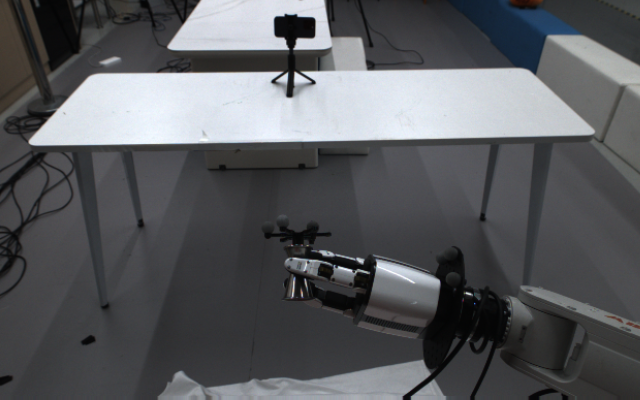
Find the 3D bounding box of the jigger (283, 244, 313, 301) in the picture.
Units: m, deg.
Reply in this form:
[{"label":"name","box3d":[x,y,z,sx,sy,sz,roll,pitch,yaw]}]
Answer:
[{"label":"jigger","box3d":[-0.027,0.094,0.627,0.043,0.043,0.071,0,75,-3]}]
